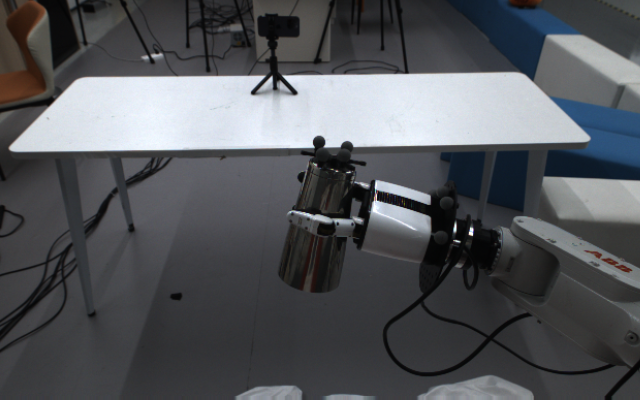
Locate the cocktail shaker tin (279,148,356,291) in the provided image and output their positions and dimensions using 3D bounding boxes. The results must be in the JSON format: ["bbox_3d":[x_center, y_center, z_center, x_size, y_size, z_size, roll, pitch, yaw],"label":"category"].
[{"bbox_3d":[0.001,0.030,0.672,0.093,0.170,0.093,11,19,-4],"label":"cocktail shaker tin"}]
